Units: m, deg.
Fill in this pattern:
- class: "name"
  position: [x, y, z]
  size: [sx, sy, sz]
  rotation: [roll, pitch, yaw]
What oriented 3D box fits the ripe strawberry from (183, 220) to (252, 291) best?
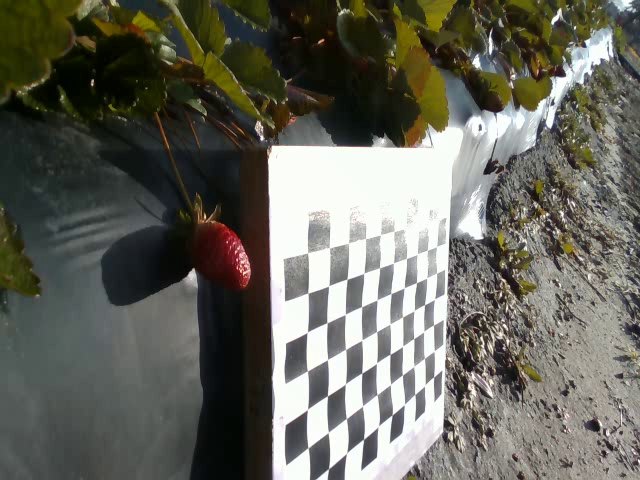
- class: "ripe strawberry"
  position: [-0.042, 0.010, 0.266]
  size: [0.037, 0.033, 0.034]
  rotation: [45, 28, 18]
